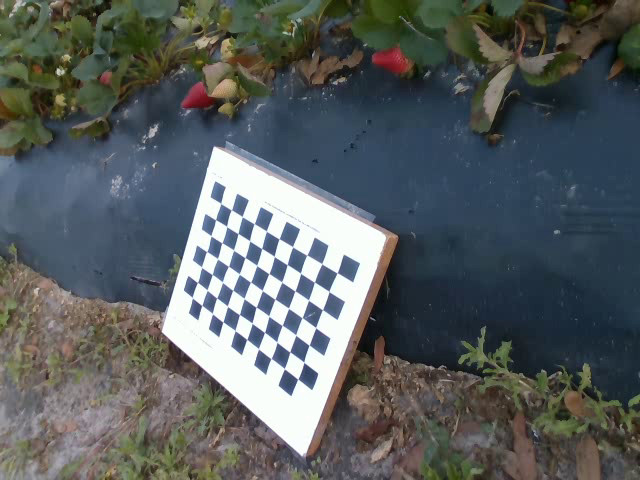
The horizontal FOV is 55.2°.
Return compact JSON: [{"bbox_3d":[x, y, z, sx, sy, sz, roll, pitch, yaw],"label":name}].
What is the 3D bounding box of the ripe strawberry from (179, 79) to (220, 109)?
[{"bbox_3d":[-0.179,-0.208,0.888,0.050,0.034,0.059,16,51,41],"label":"ripe strawberry"}]
